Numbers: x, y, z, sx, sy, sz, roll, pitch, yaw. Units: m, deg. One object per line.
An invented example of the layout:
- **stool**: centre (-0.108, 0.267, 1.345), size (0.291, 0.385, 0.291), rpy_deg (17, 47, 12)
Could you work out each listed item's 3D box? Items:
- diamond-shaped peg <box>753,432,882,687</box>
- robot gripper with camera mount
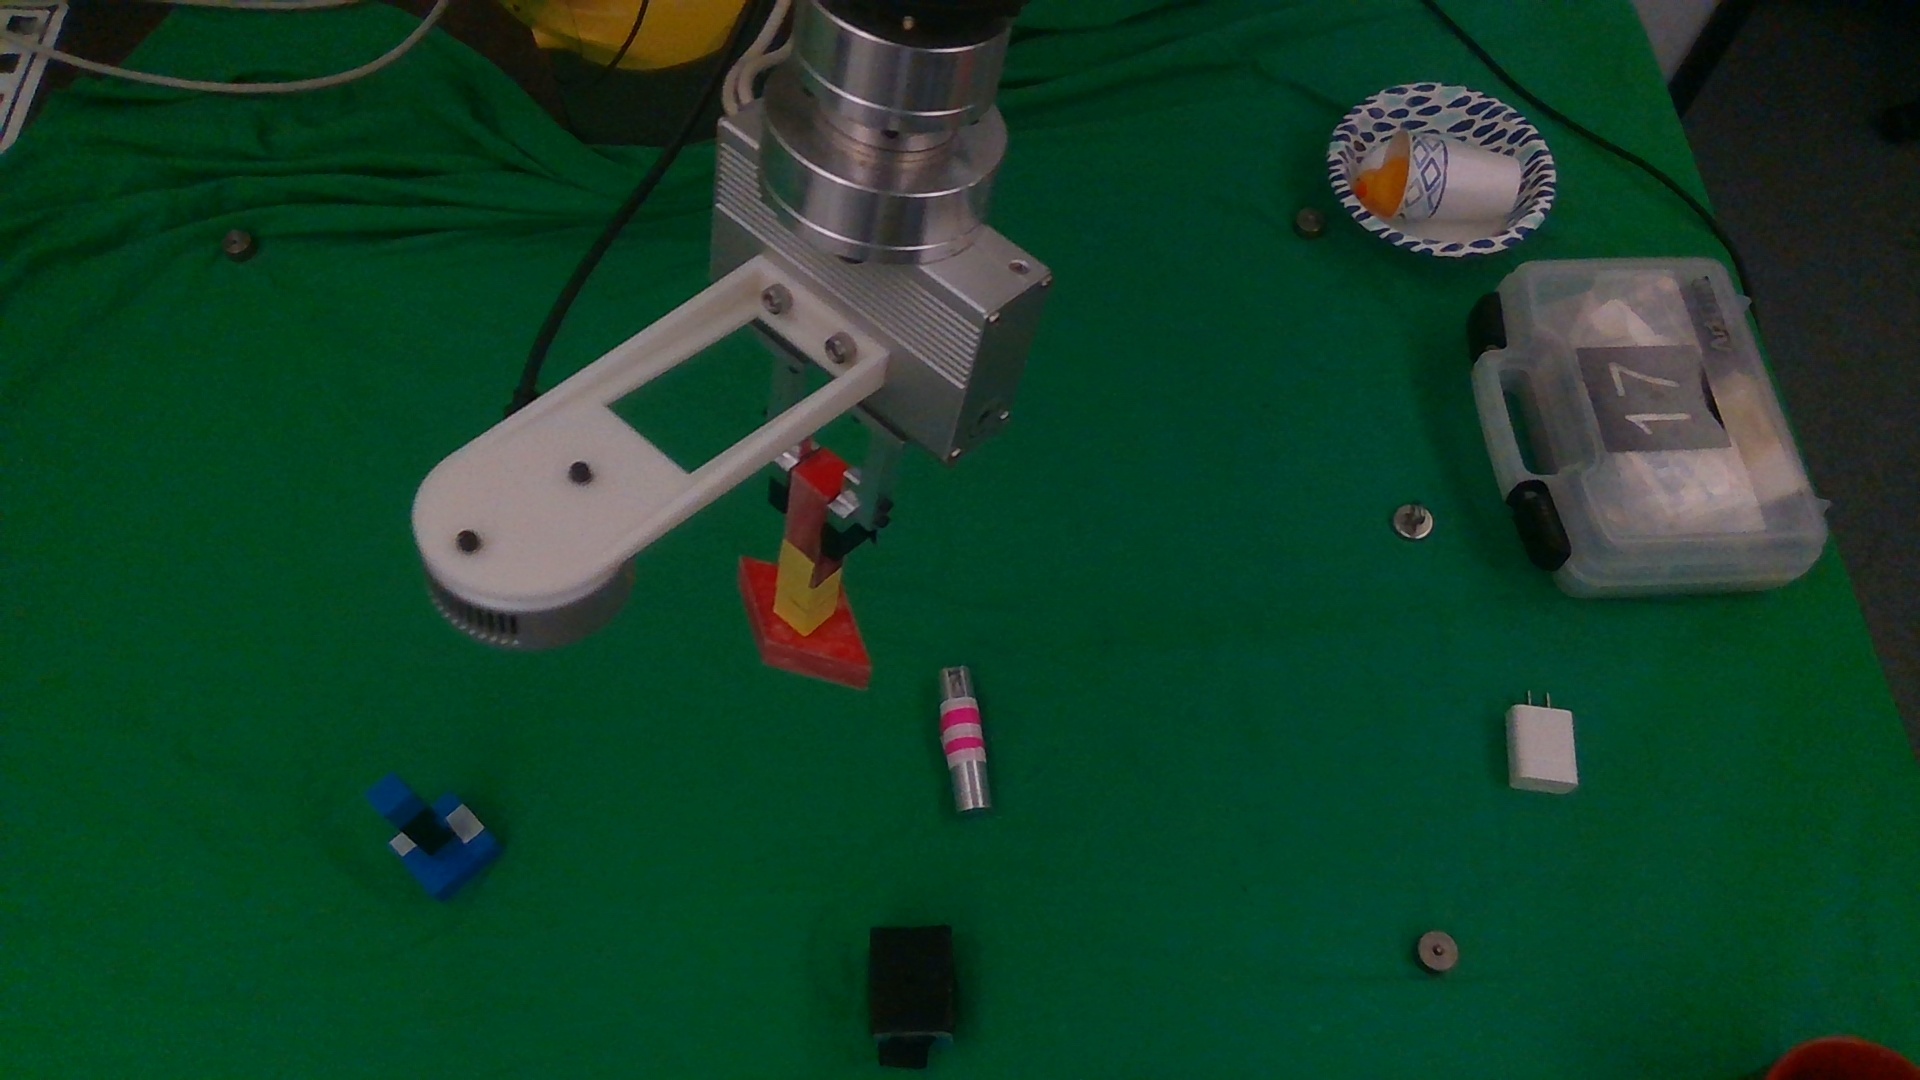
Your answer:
- **diamond-shaped peg**: centre (-0.057, 0.004, 0.605), size (0.074, 0.122, 0.045), rpy_deg (19, 48, 1)
- **robot gripper with camera mount**: centre (-0.083, -0.016, 0.479), size (0.119, 0.159, 0.193), rpy_deg (35, 55, 15)
